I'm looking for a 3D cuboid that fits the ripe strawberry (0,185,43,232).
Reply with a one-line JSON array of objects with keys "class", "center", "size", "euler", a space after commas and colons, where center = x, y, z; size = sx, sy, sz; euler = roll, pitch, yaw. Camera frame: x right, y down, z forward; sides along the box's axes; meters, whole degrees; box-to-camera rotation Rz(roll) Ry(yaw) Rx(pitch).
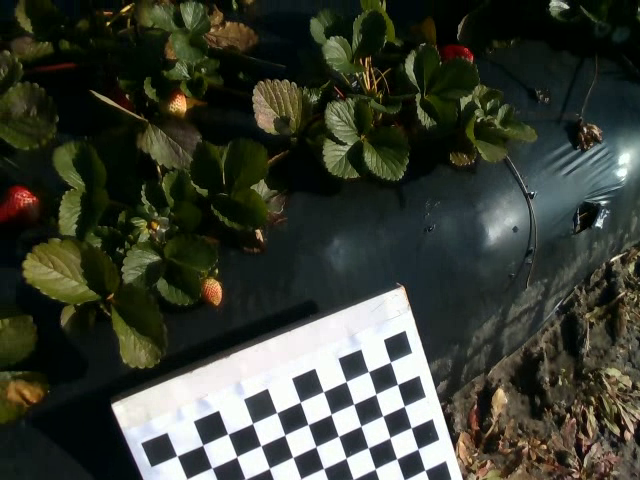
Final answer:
[{"class": "ripe strawberry", "center": [-0.270, -0.026, 0.562], "size": [0.055, 0.042, 0.044], "euler": [-32, 20, -33]}]
